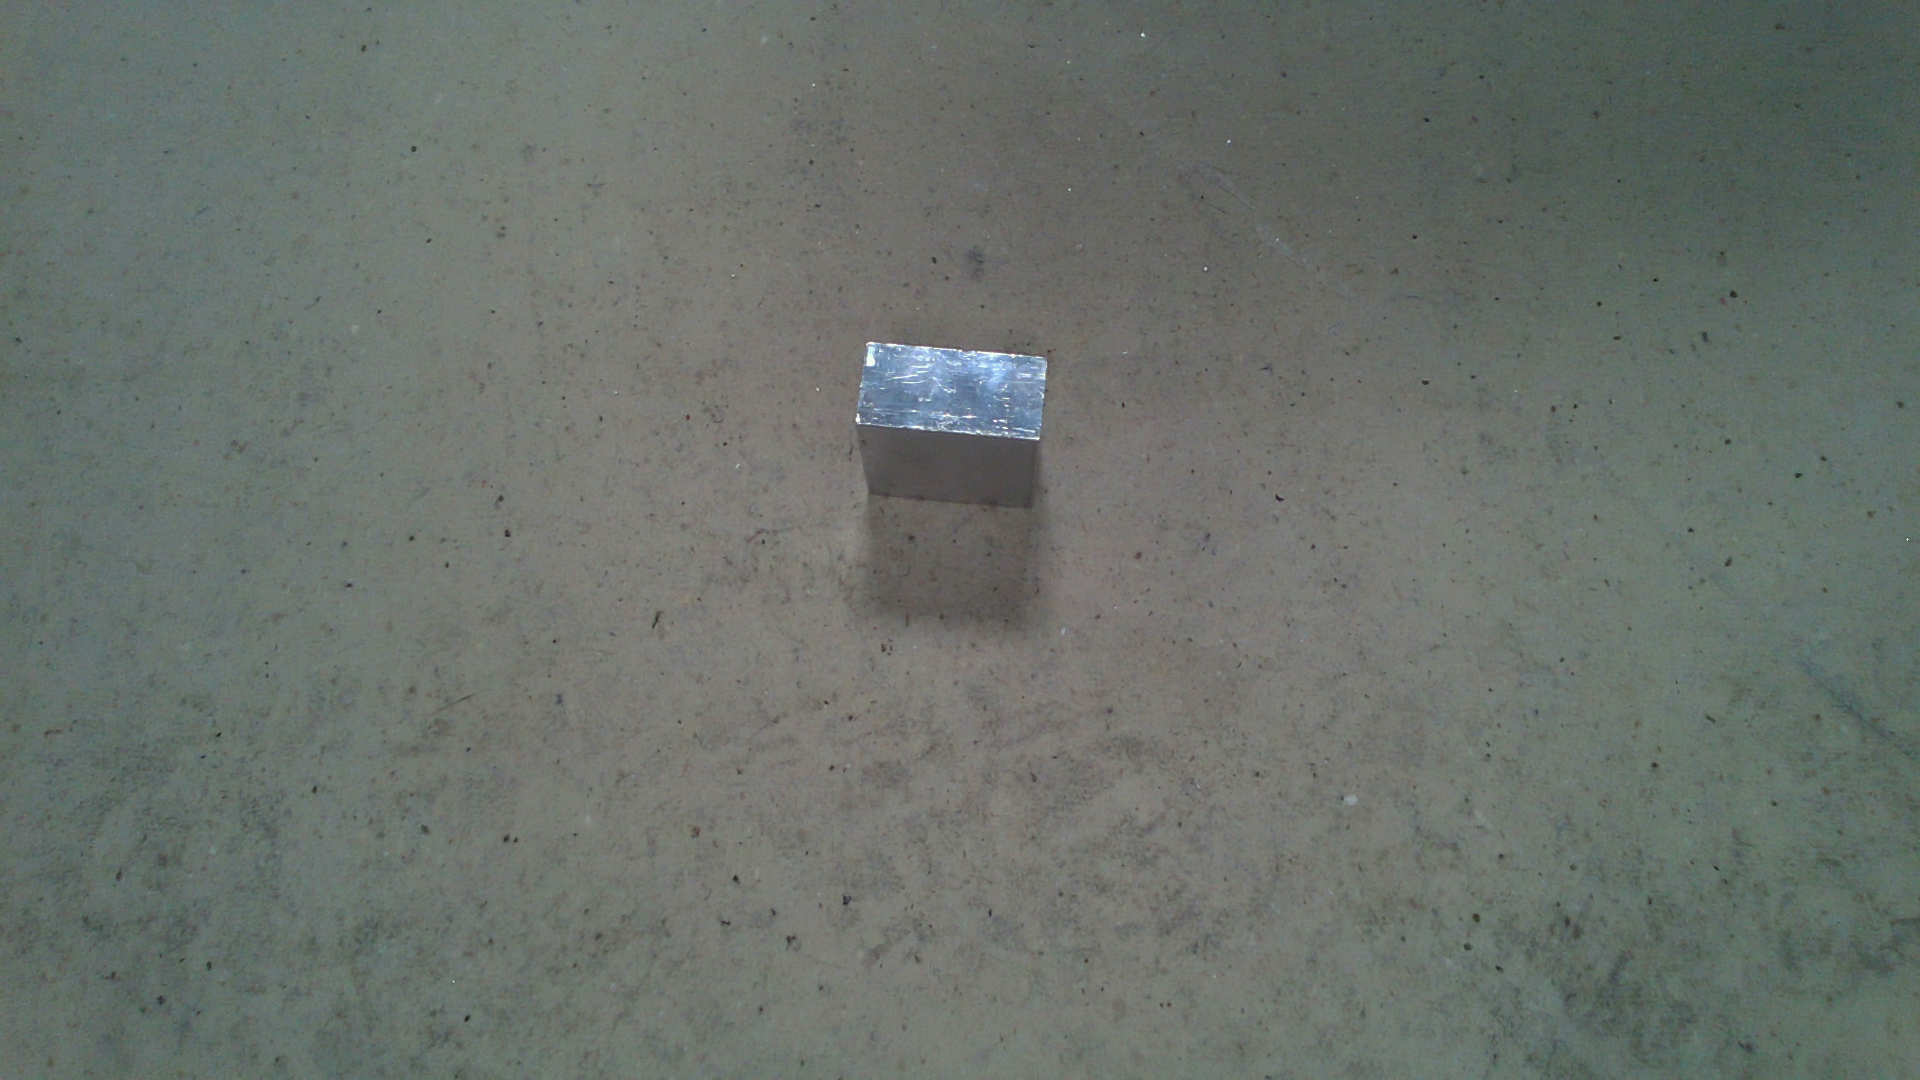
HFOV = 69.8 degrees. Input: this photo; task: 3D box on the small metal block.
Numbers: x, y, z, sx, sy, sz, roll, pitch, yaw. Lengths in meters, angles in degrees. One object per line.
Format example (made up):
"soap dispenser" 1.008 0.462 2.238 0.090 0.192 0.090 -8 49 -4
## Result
"small metal block" -0.002 -0.032 0.393 0.050 0.050 0.025 5 70 2
